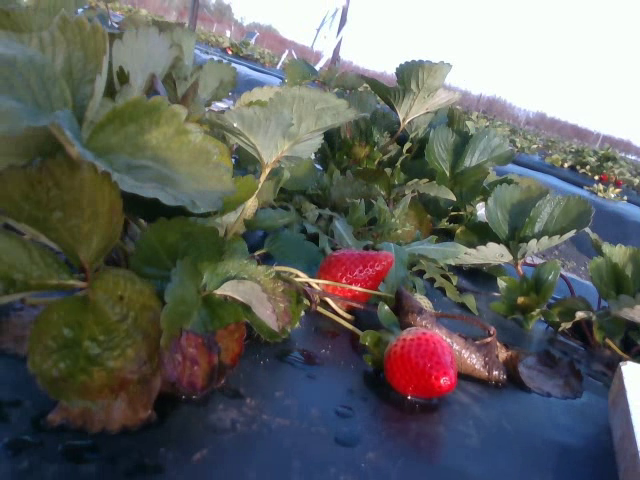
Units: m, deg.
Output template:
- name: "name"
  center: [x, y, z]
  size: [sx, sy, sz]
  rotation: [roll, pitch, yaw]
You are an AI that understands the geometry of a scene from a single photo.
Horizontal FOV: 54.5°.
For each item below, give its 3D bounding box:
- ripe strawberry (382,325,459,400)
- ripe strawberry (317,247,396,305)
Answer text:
- name: "ripe strawberry"
  center: [0.044, 0.054, 0.261]
  size: [0.035, 0.030, 0.043]
  rotation: [2, 20, -20]
- name: "ripe strawberry"
  center: [0.020, 0.014, 0.339]
  size: [0.048, 0.032, 0.040]
  rotation: [-30, 16, 16]
